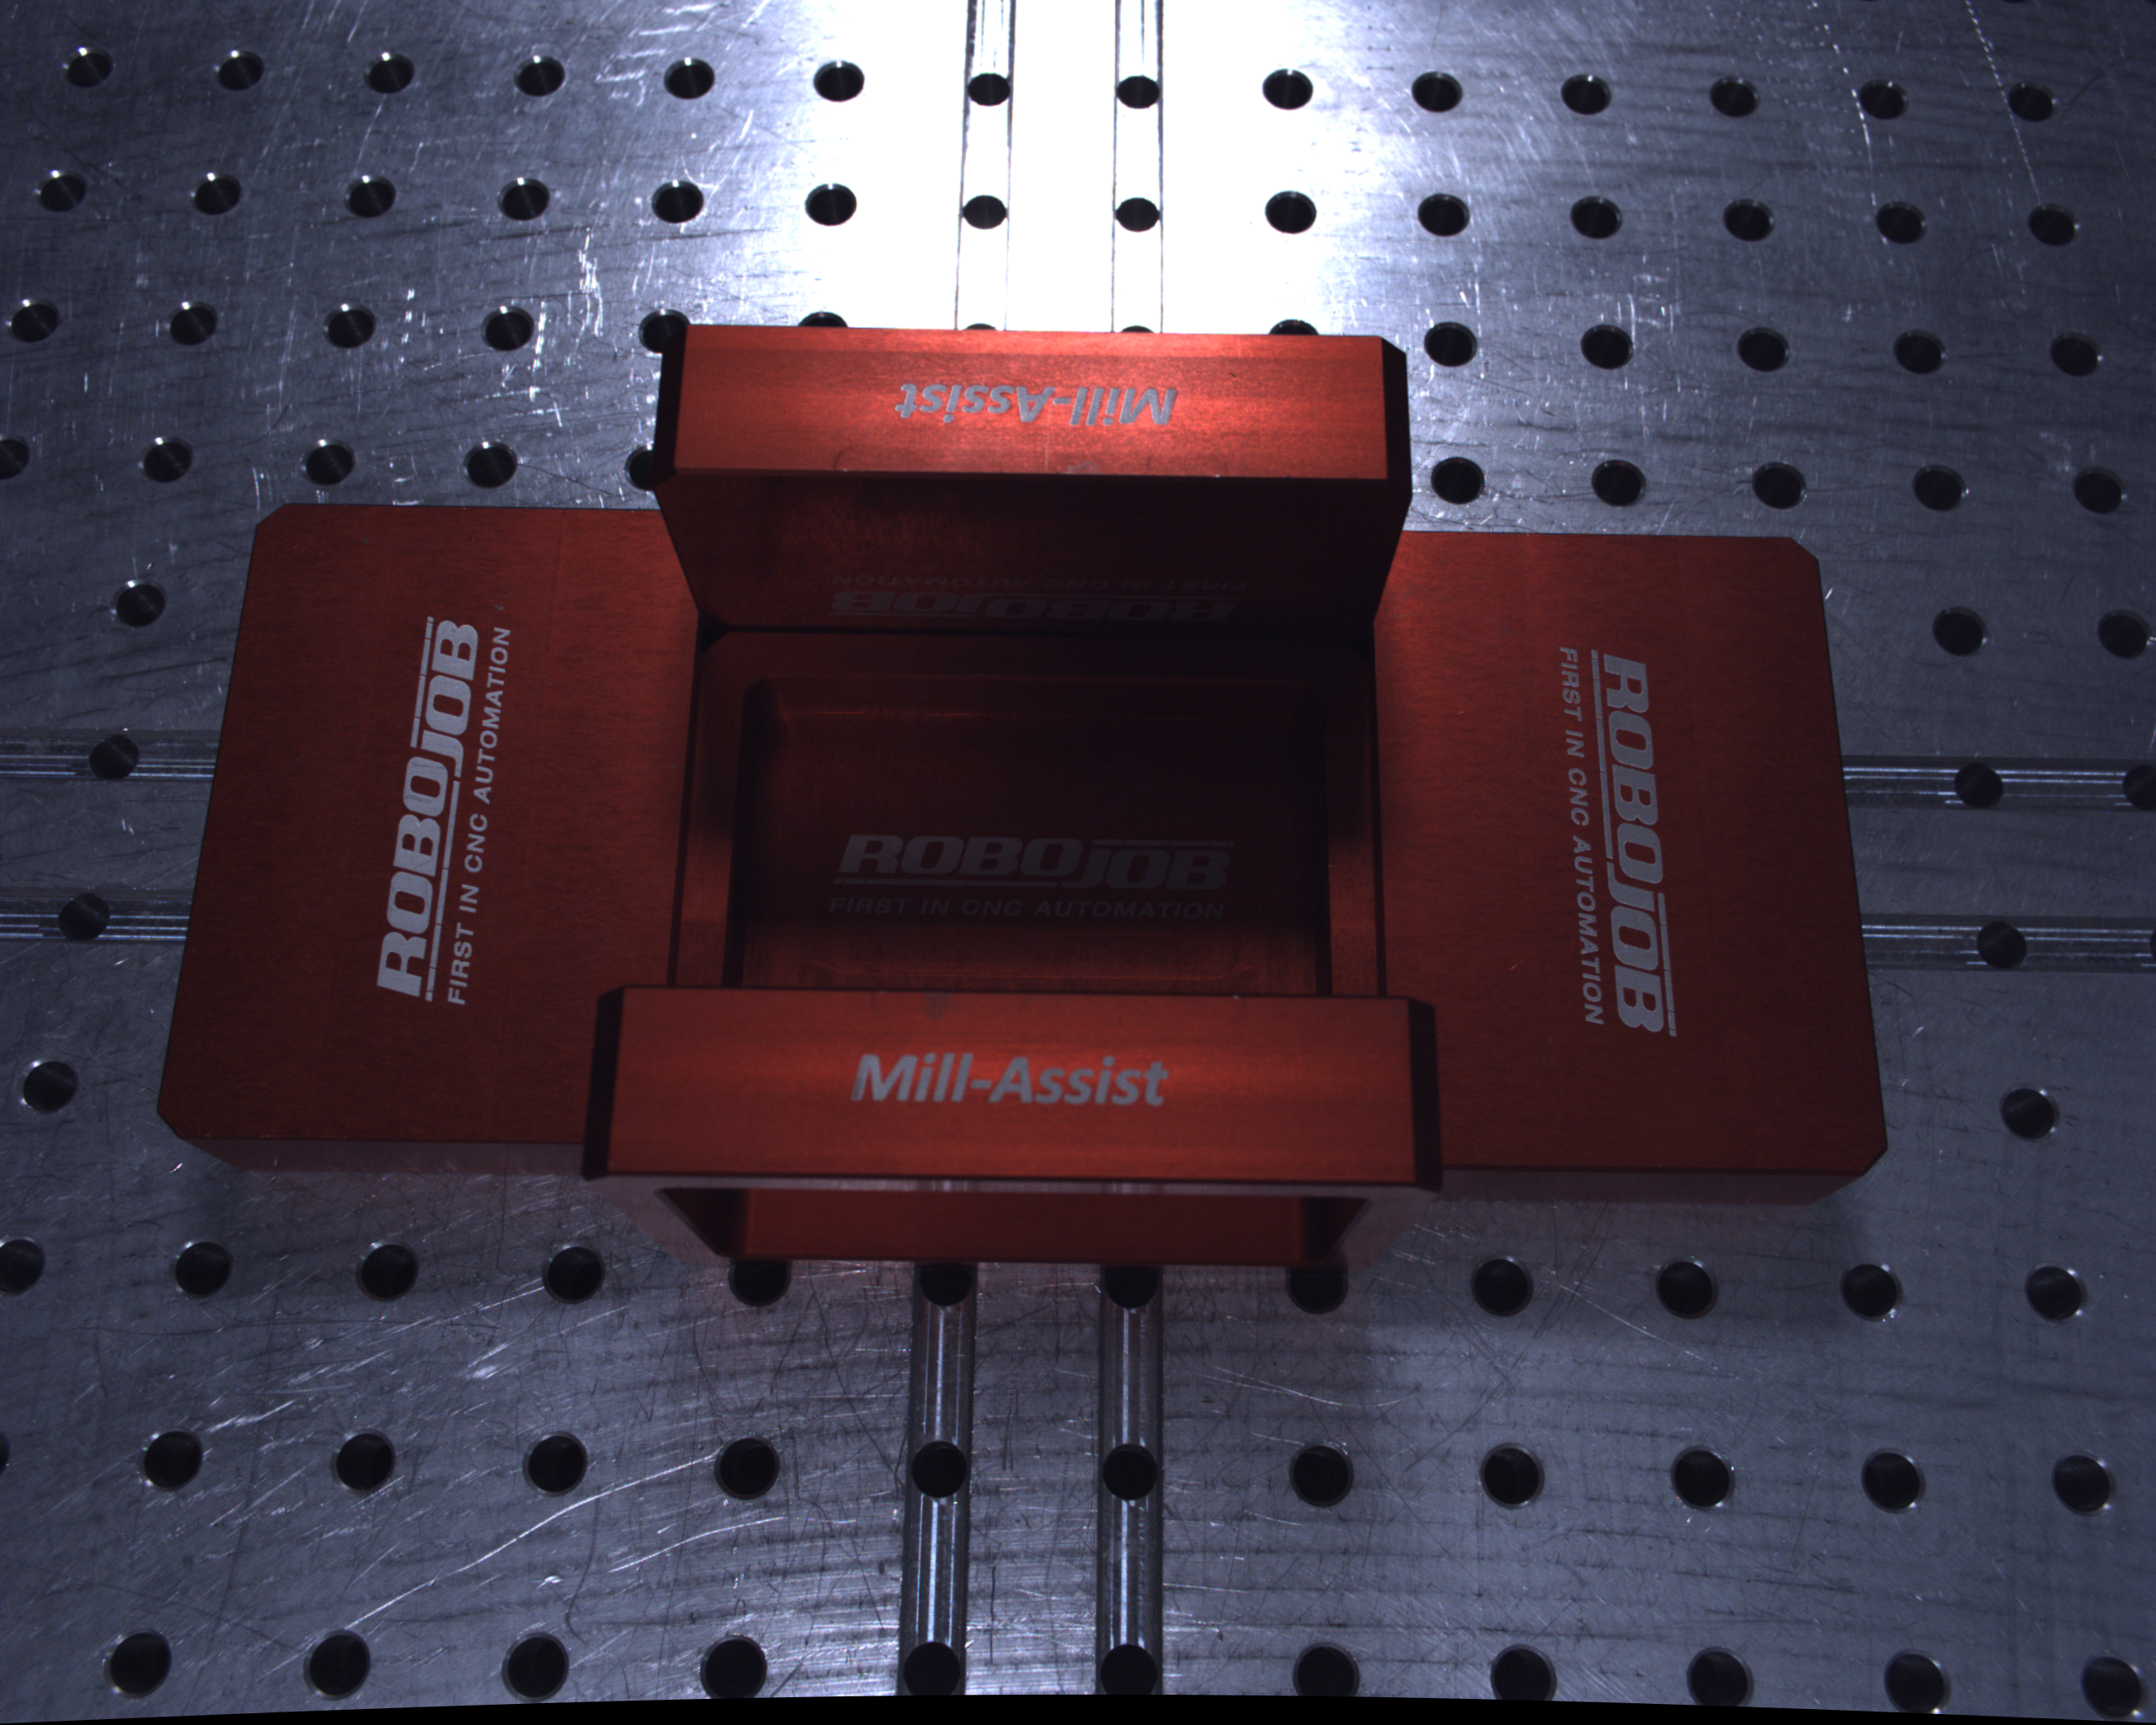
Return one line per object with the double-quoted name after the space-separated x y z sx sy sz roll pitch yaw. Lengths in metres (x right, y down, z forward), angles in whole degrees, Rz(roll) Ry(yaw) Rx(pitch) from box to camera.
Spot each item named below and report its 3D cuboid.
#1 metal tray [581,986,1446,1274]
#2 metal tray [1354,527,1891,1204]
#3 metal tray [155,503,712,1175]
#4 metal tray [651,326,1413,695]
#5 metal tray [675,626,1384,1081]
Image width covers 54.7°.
-0.010 0.049 0.358 0.131 0.090 0.030 1 70 0 "metal tray"
0.102 -0.001 0.409 0.091 0.030 0.130 1 70 -1 "metal tray"
-0.120 -0.006 0.409 0.091 0.030 0.130 1 70 0 "metal tray"
-0.008 -0.064 0.400 0.131 0.090 0.030 1 70 0 "metal tray"
-0.009 0.001 0.406 0.131 0.030 0.090 1 70 0 "metal tray"
